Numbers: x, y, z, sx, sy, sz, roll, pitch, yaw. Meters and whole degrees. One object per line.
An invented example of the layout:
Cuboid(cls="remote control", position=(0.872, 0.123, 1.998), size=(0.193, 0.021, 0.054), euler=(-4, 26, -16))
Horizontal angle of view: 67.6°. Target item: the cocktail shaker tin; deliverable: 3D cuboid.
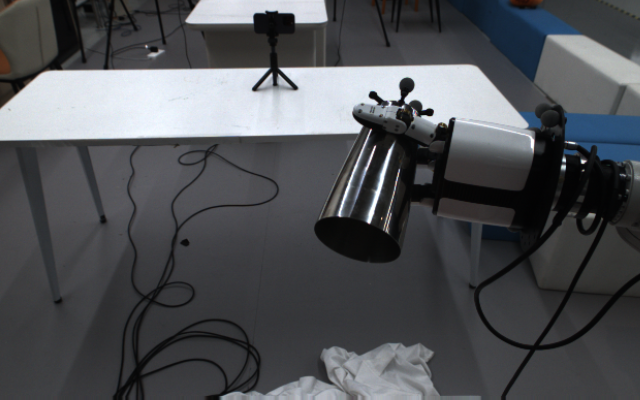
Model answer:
Cuboid(cls="cocktail shaker tin", position=(0.064, -0.029, 0.536), size=(0.093, 0.093, 0.170), euler=(13, 59, 16))
